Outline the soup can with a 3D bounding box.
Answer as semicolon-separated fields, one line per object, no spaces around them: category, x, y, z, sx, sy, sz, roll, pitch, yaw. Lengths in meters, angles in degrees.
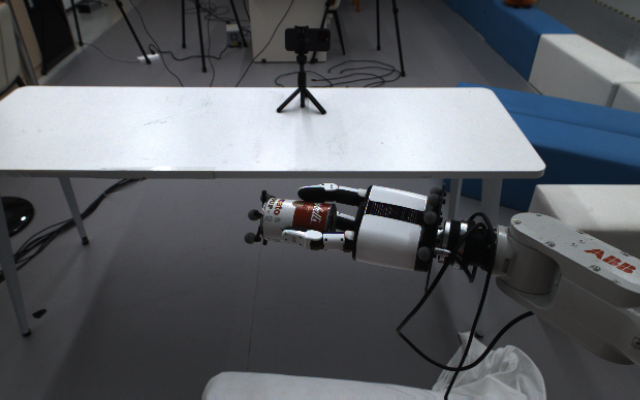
soup can;-0.030;0.034;0.727;0.101;0.067;0.067;6;35;13
